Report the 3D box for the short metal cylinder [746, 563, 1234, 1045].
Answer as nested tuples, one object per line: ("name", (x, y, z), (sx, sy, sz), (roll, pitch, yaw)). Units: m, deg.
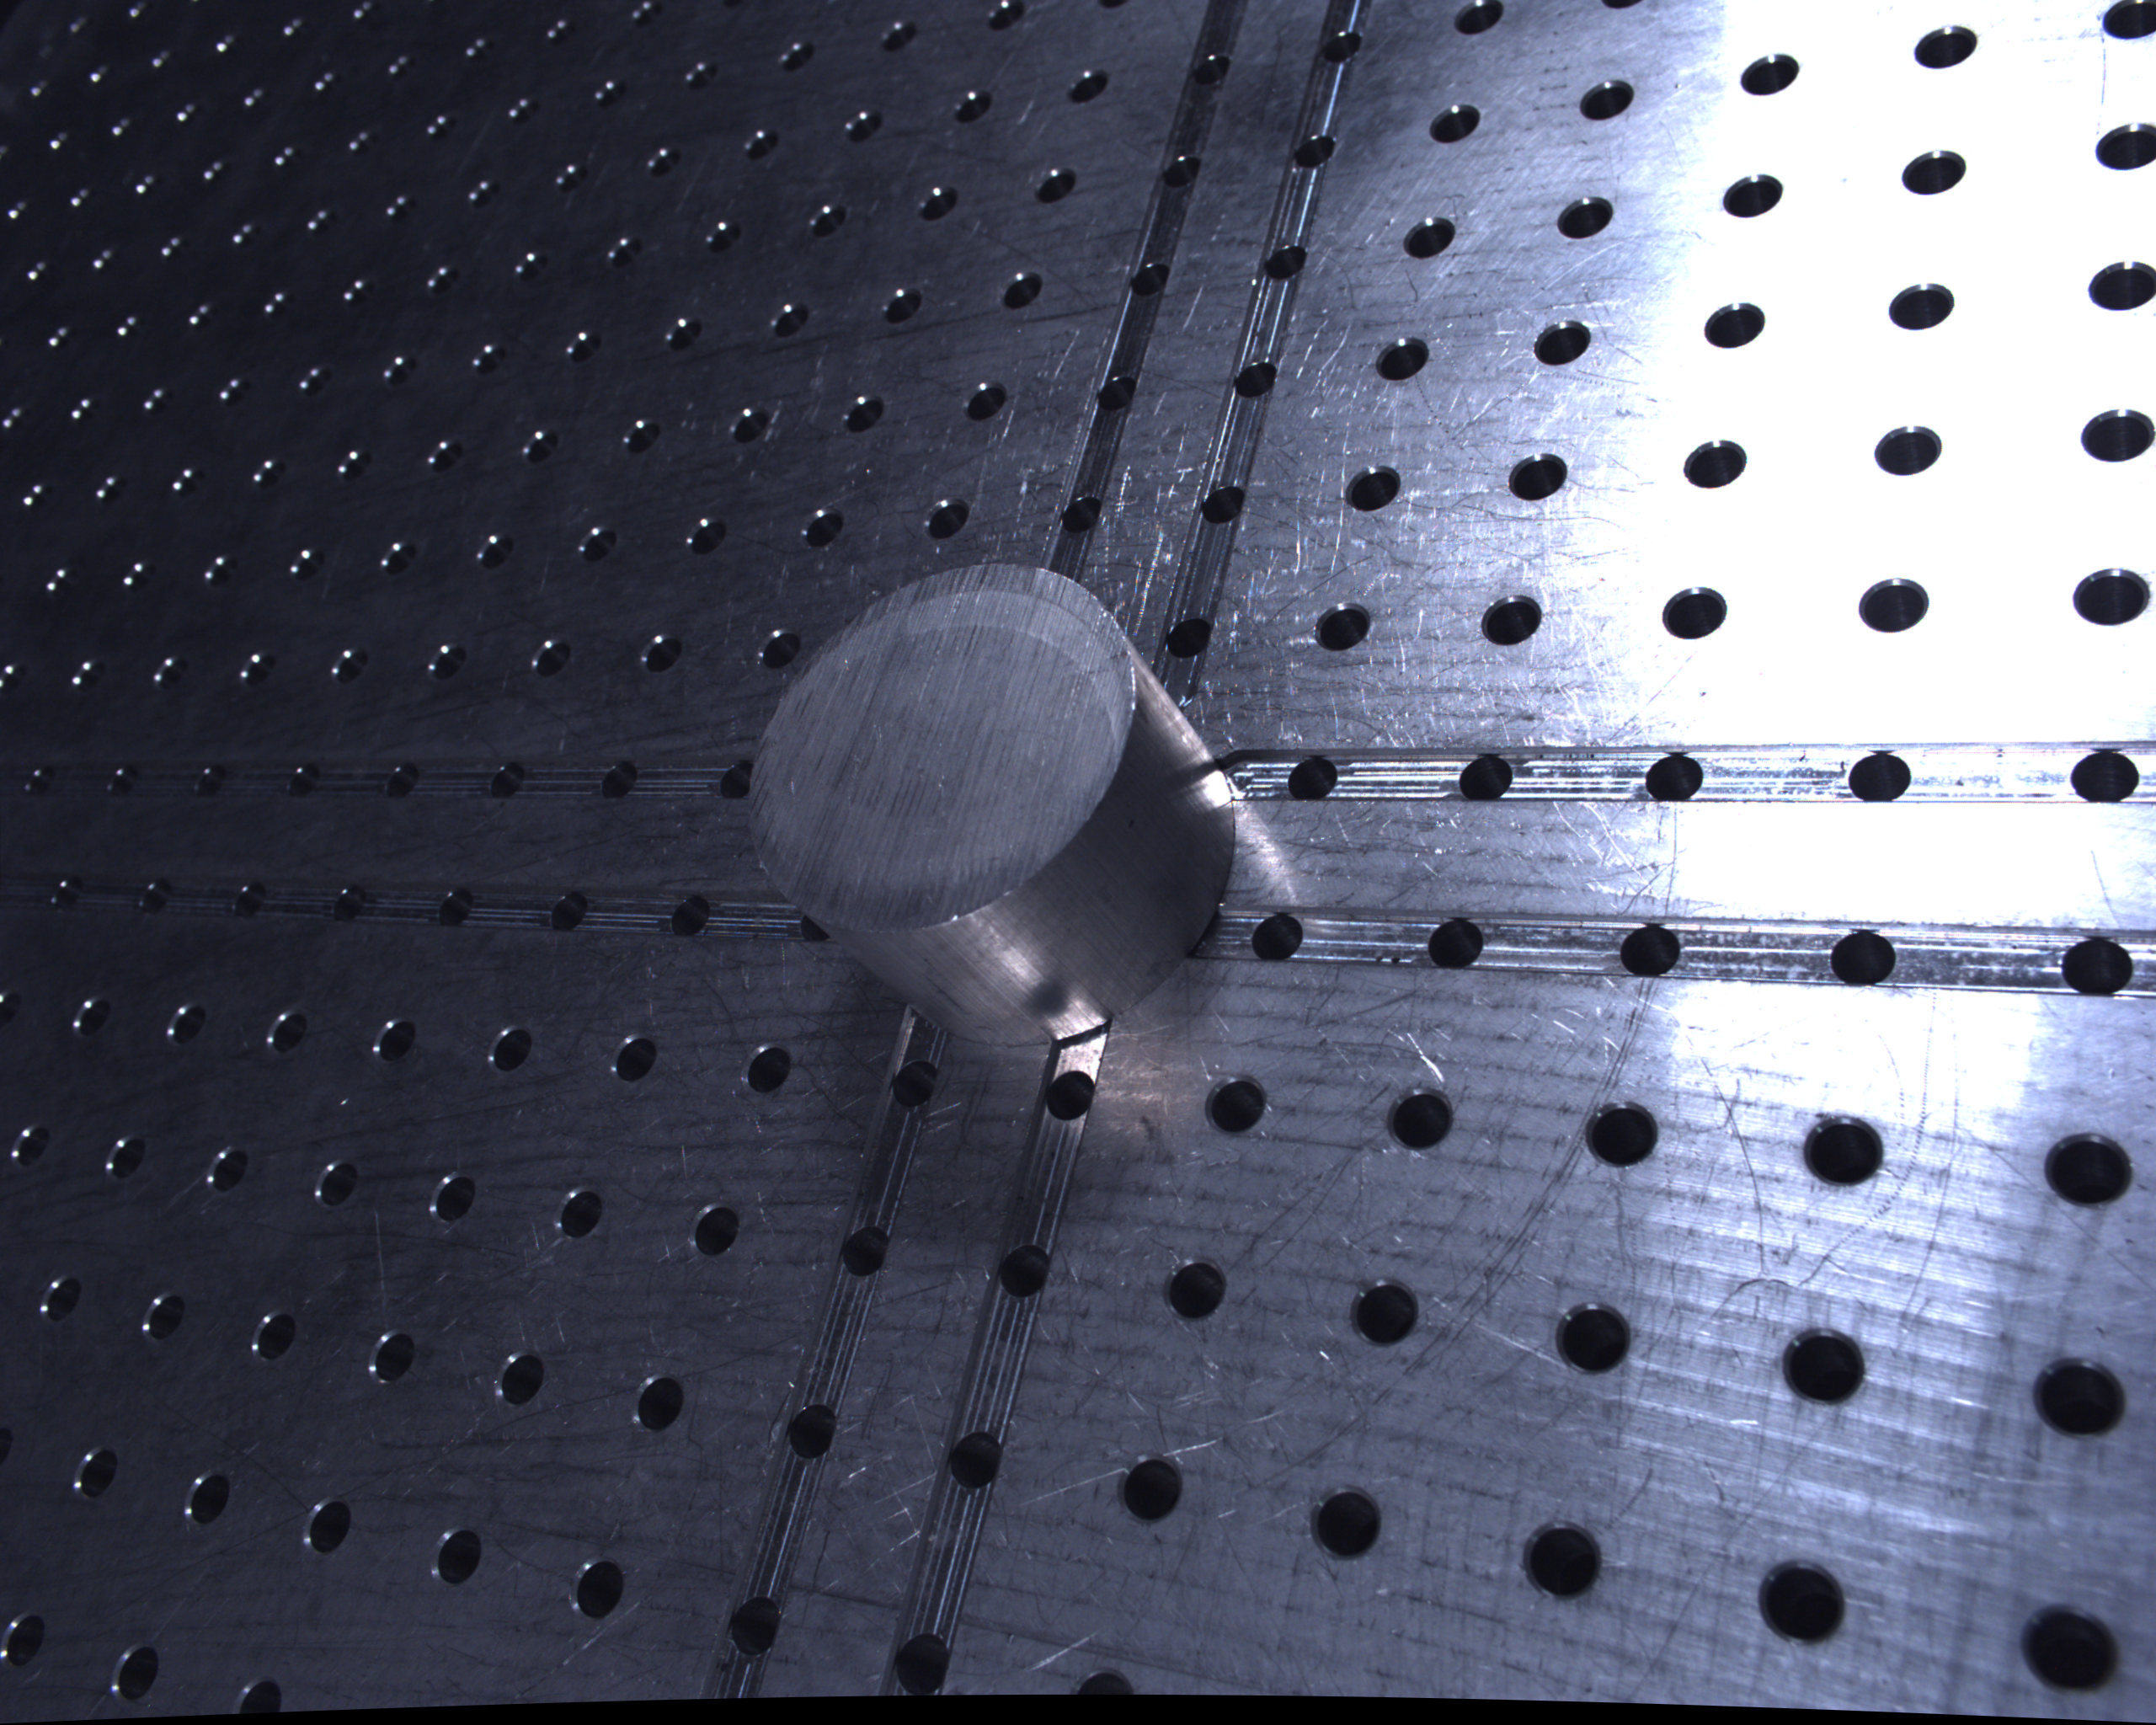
("short metal cylinder", (-0.016, -0.011, 0.405), (0.080, 0.050, 0.080), (-13, 56, 20))
